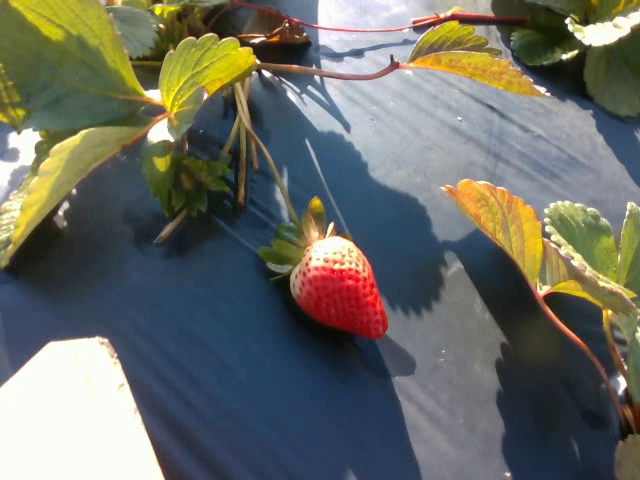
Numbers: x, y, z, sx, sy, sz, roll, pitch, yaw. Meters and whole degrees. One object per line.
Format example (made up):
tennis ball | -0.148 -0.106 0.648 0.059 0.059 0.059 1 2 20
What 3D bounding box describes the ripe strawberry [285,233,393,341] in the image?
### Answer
ripe strawberry | 0.012 0.022 0.261 0.063 0.045 0.043 44 21 24
